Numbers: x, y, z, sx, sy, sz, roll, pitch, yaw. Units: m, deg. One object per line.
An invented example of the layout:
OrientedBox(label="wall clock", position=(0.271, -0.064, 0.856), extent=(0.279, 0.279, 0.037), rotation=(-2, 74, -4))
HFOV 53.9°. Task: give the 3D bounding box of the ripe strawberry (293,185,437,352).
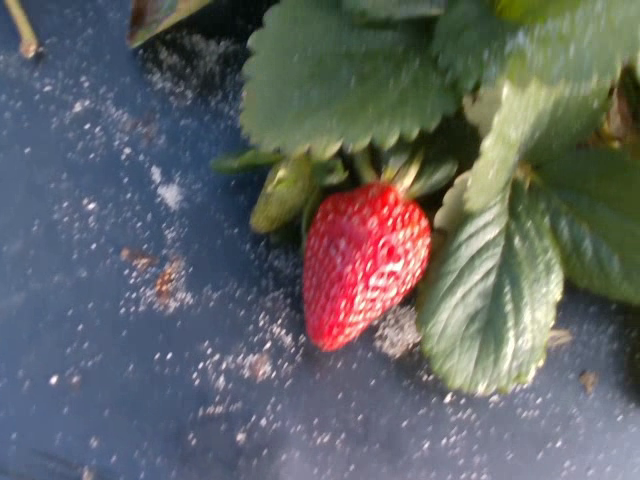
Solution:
OrientedBox(label="ripe strawberry", position=(0.005, 0.007, 0.115), extent=(0.029, 0.036, 0.021), rotation=(21, -14, 11))
